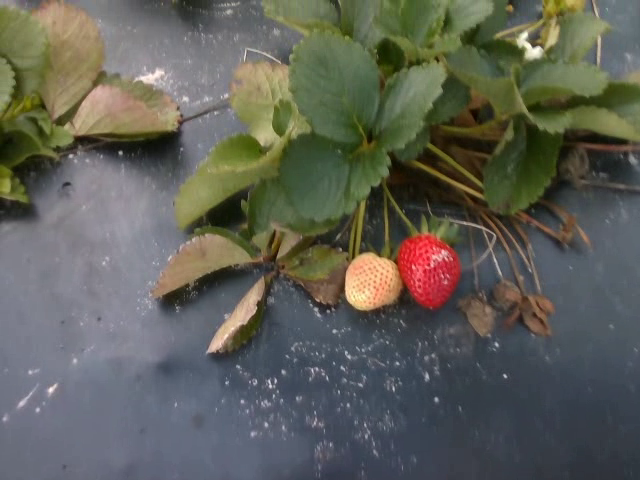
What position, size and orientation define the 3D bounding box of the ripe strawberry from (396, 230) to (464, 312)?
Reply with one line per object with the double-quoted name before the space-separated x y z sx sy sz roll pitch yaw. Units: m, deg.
"ripe strawberry" 0.051 0.015 0.268 0.034 0.033 0.042 27 39 -2
